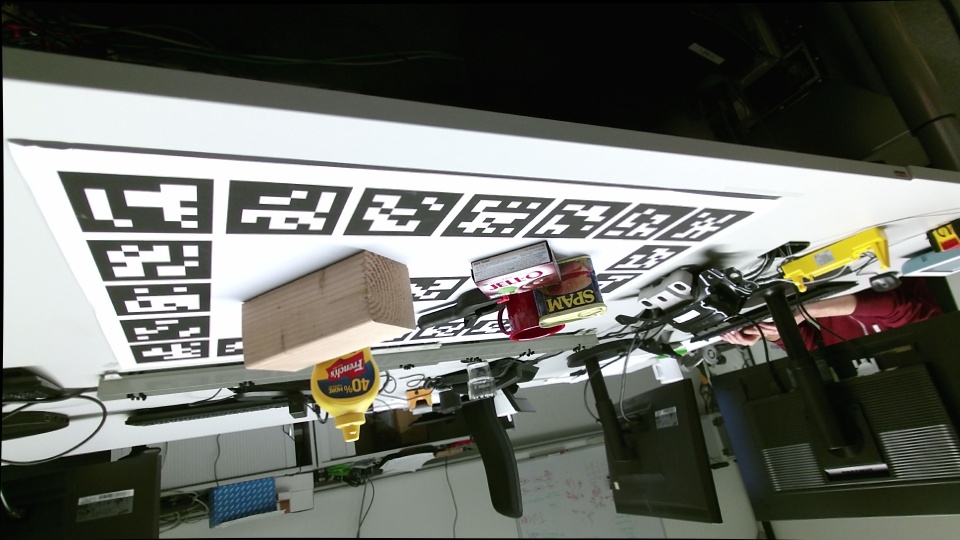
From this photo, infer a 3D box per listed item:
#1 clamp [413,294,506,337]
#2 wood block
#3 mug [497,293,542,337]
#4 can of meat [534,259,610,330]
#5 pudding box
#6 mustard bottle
[{"bbox_3d":[-0.019,0.076,0.891,0.122,0.036,0.165,13,144,-43],"label":"clamp"},{"bbox_3d":[-0.199,0.059,0.681,0.207,0.090,0.090,-21,158,22],"label":"wood block"},{"bbox_3d":[0.072,0.061,0.895,0.117,0.081,0.093,-32,151,34],"label":"mug"},{"bbox_3d":[0.132,0.039,0.803,0.102,0.083,0.058,-14,156,1],"label":"can of meat"},{"bbox_3d":[0.048,0.006,0.751,0.114,0.038,0.090,-16,157,10],"label":"pudding box"},{"bbox_3d":[-0.192,0.153,0.761,0.096,0.190,0.058,-4,155,-23],"label":"mustard bottle"}]
